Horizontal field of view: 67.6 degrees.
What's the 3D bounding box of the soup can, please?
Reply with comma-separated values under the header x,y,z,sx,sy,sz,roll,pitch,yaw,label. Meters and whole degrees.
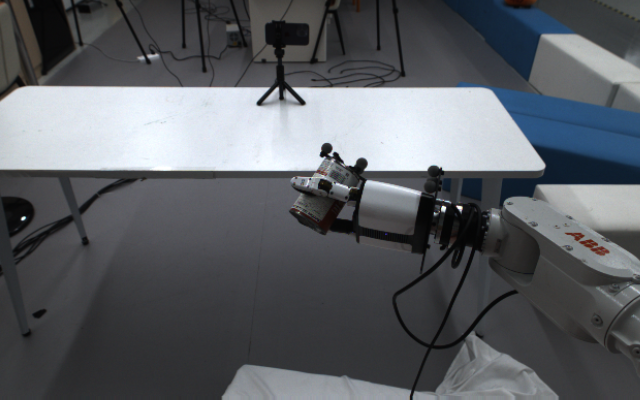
x,y,z,sx,sy,sz,roll,pitch,yaw,label
0.008,-0.005,0.747,0.067,0.067,0.101,27,78,31,soup can
